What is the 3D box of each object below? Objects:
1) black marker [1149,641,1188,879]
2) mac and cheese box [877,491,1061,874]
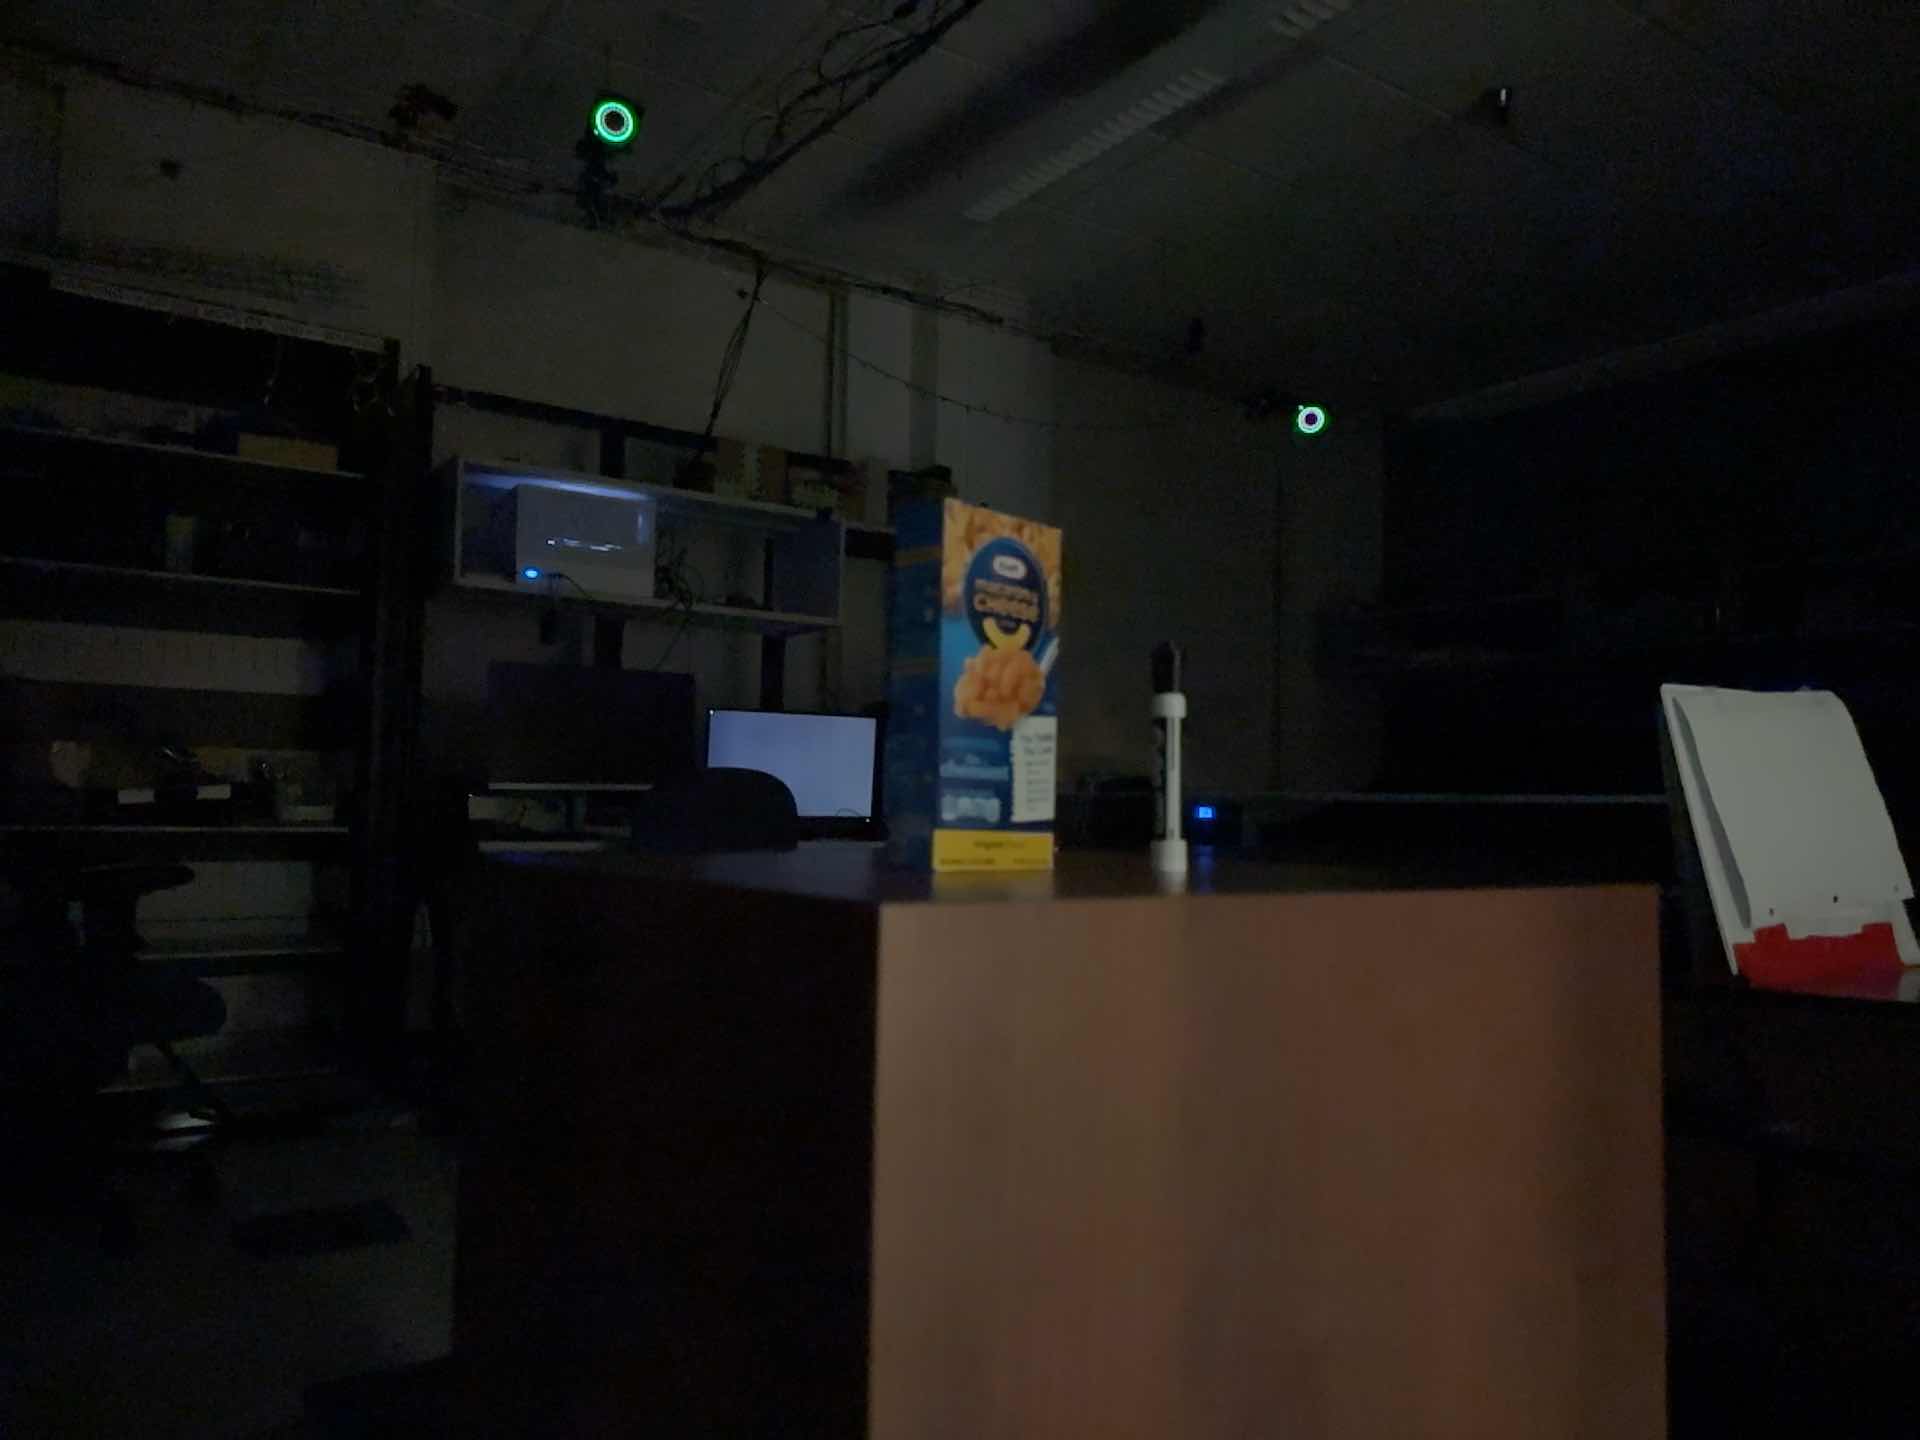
[{"bbox_3d":[0.107,0.020,0.690,0.020,0.121,0.020,0,-3,0],"label":"black marker"},{"bbox_3d":[0.006,-0.016,0.682,0.088,0.181,0.035,3,-3,-41],"label":"mac and cheese box"}]
